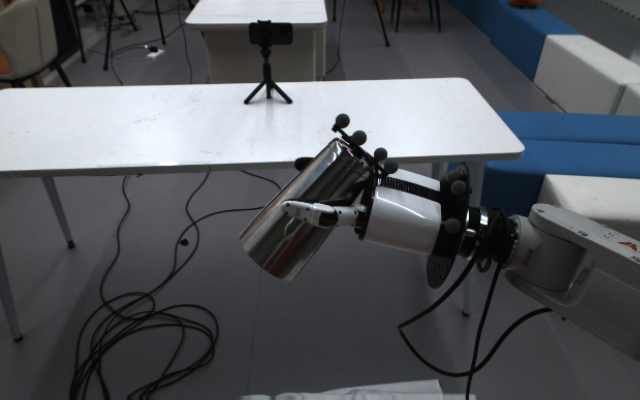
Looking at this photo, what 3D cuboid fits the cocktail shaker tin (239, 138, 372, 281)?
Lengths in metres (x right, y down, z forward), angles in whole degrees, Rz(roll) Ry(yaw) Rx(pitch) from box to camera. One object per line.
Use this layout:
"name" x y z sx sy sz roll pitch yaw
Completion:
"cocktail shaker tin" -0.011 0.003 0.604 0.093 0.170 0.093 41 12 -11
